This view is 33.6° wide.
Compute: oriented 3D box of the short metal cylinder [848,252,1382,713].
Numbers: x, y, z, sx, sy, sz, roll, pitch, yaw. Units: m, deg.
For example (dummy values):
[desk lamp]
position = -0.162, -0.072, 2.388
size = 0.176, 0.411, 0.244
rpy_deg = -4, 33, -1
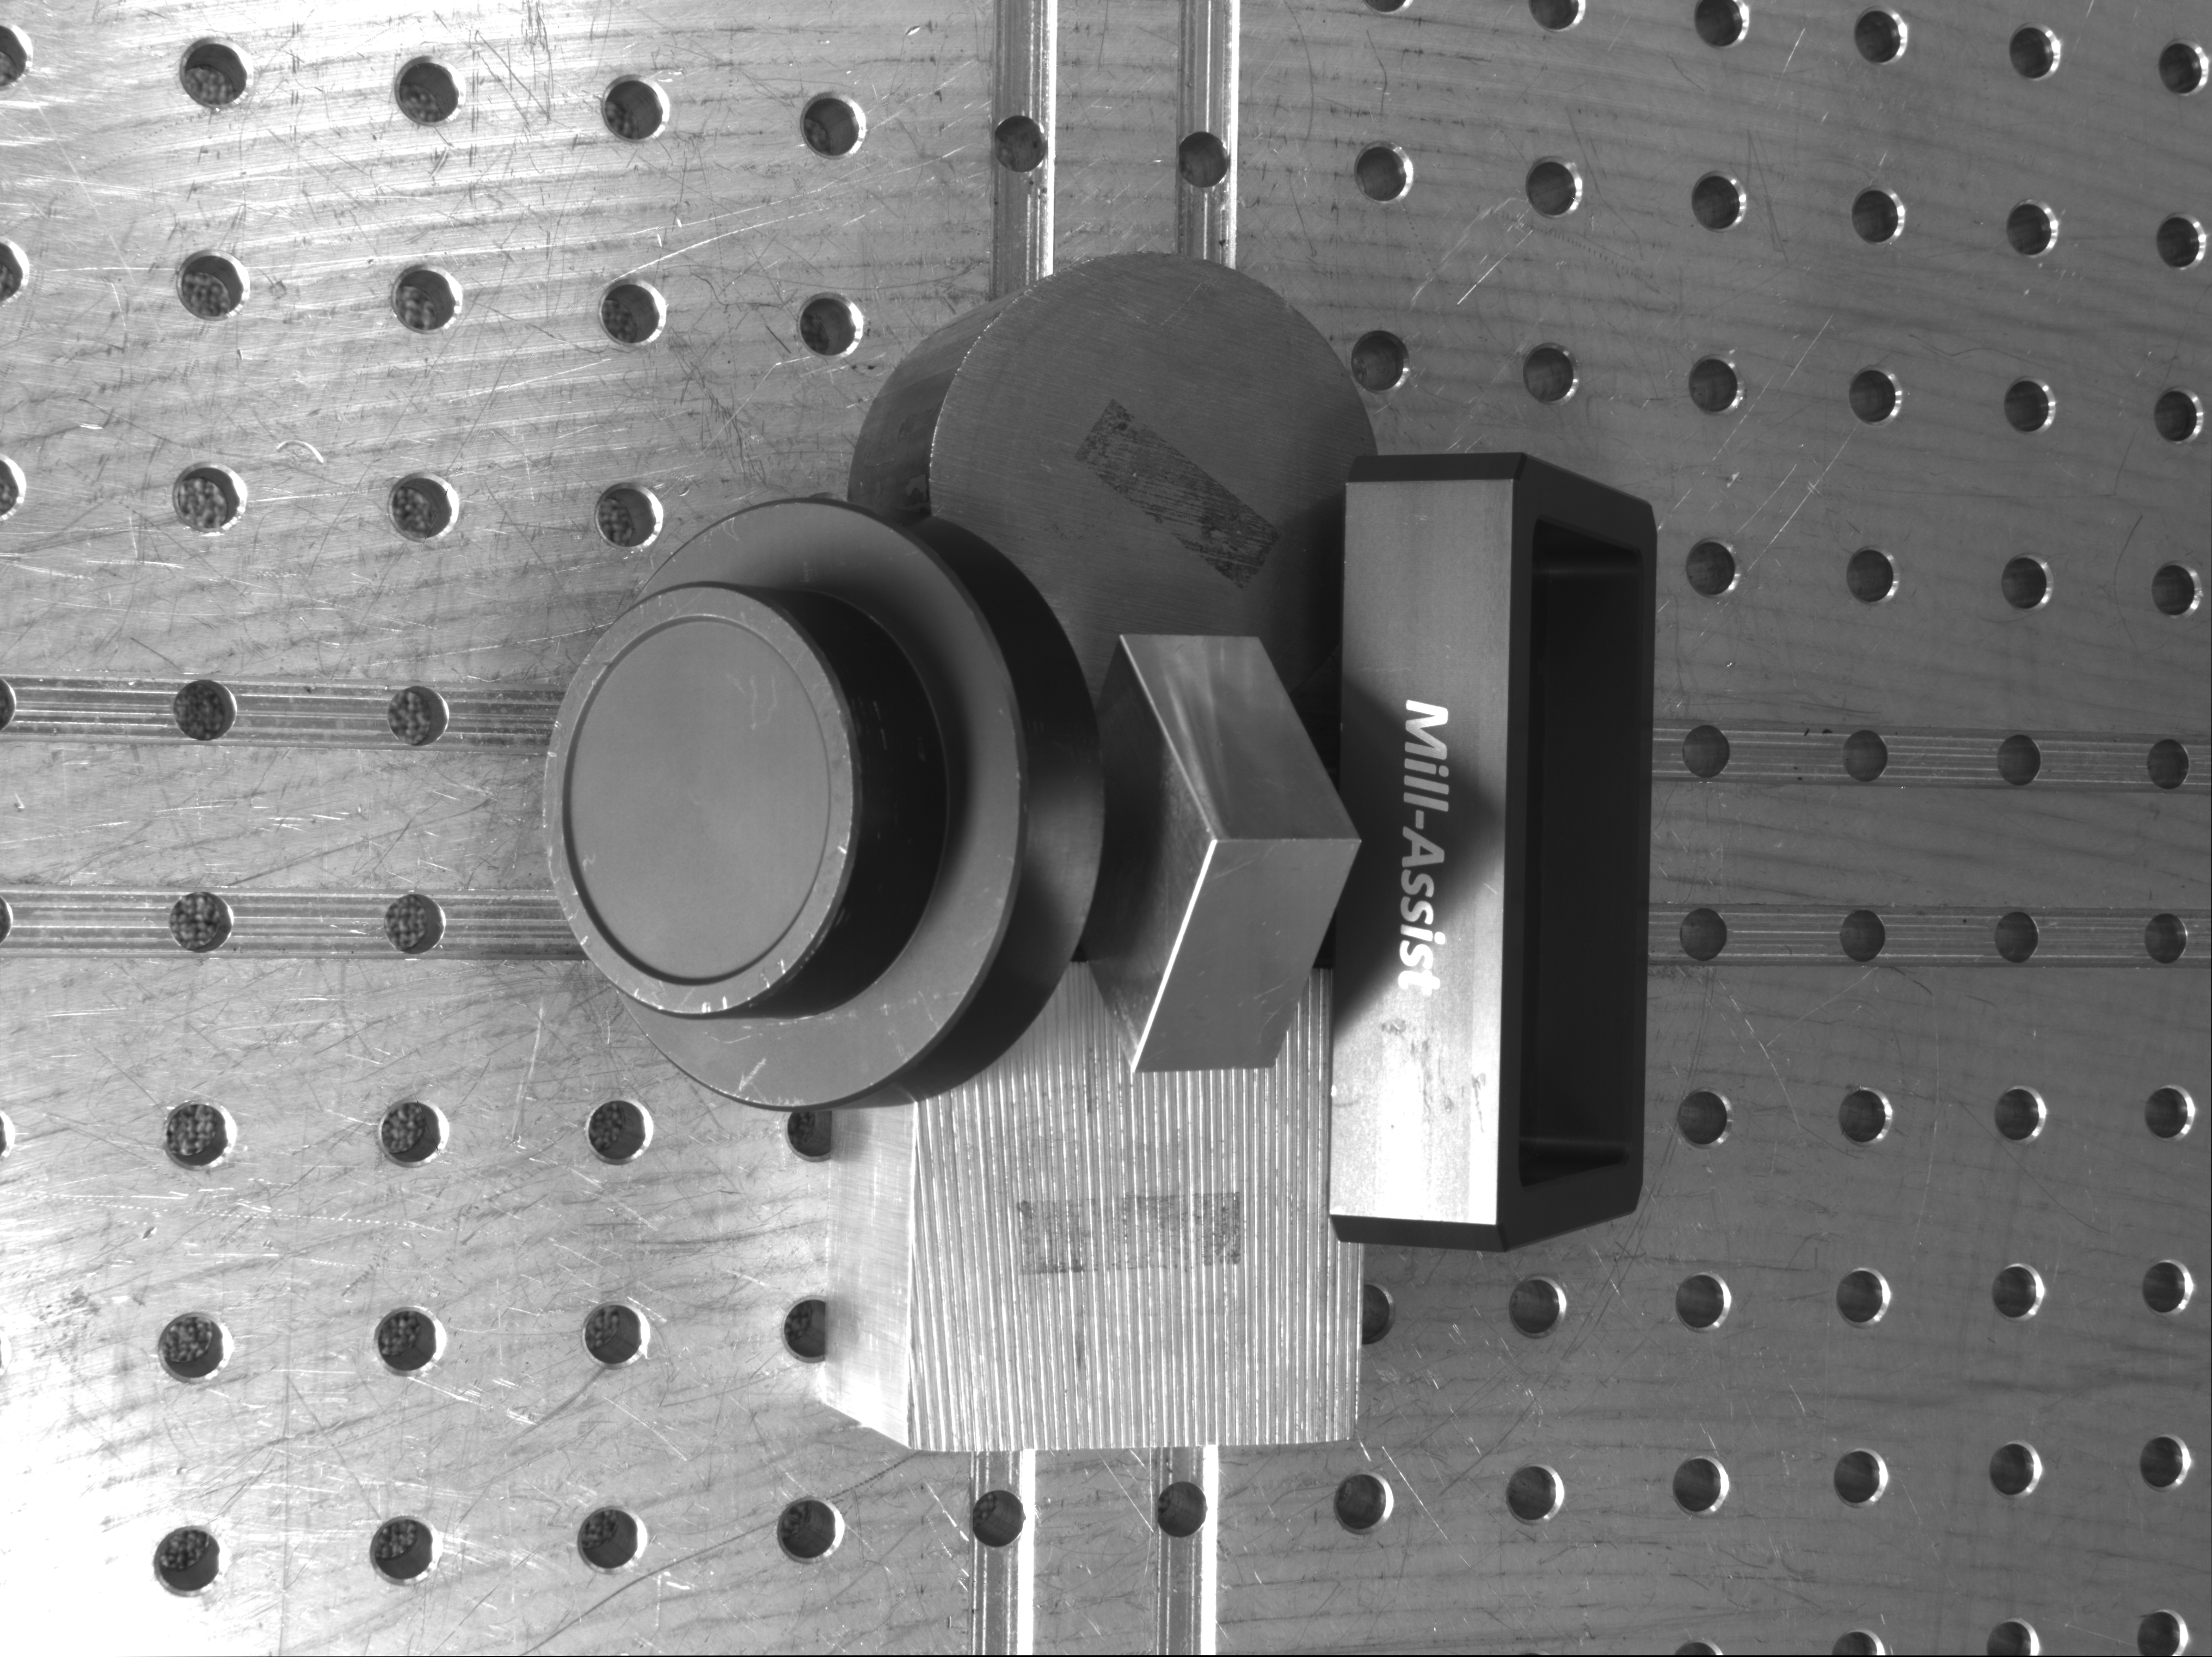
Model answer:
[short metal cylinder]
position = 0.001, -0.055, 0.631
size = 0.080, 0.050, 0.080
rpy_deg = 0, 90, -20

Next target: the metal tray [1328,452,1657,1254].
[metal tray]
position = 0.069, 0.004, 0.637
size = 0.030, 0.090, 0.130
rpy_deg = 1, 89, 23

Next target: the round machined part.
[round machined part]
position = -0.051, -0.003, 0.584
size = 0.042, 0.098, 0.098
rpy_deg = 2, 89, -53

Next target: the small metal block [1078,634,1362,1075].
[small metal block]
position = 0.014, 0.004, 0.592
size = 0.025, 0.050, 0.050
rpy_deg = 0, 132, -23

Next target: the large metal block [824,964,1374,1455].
[large metal block]
position = -0.002, 0.063, 0.631
size = 0.080, 0.050, 0.080
rpy_deg = 2, 89, -20
